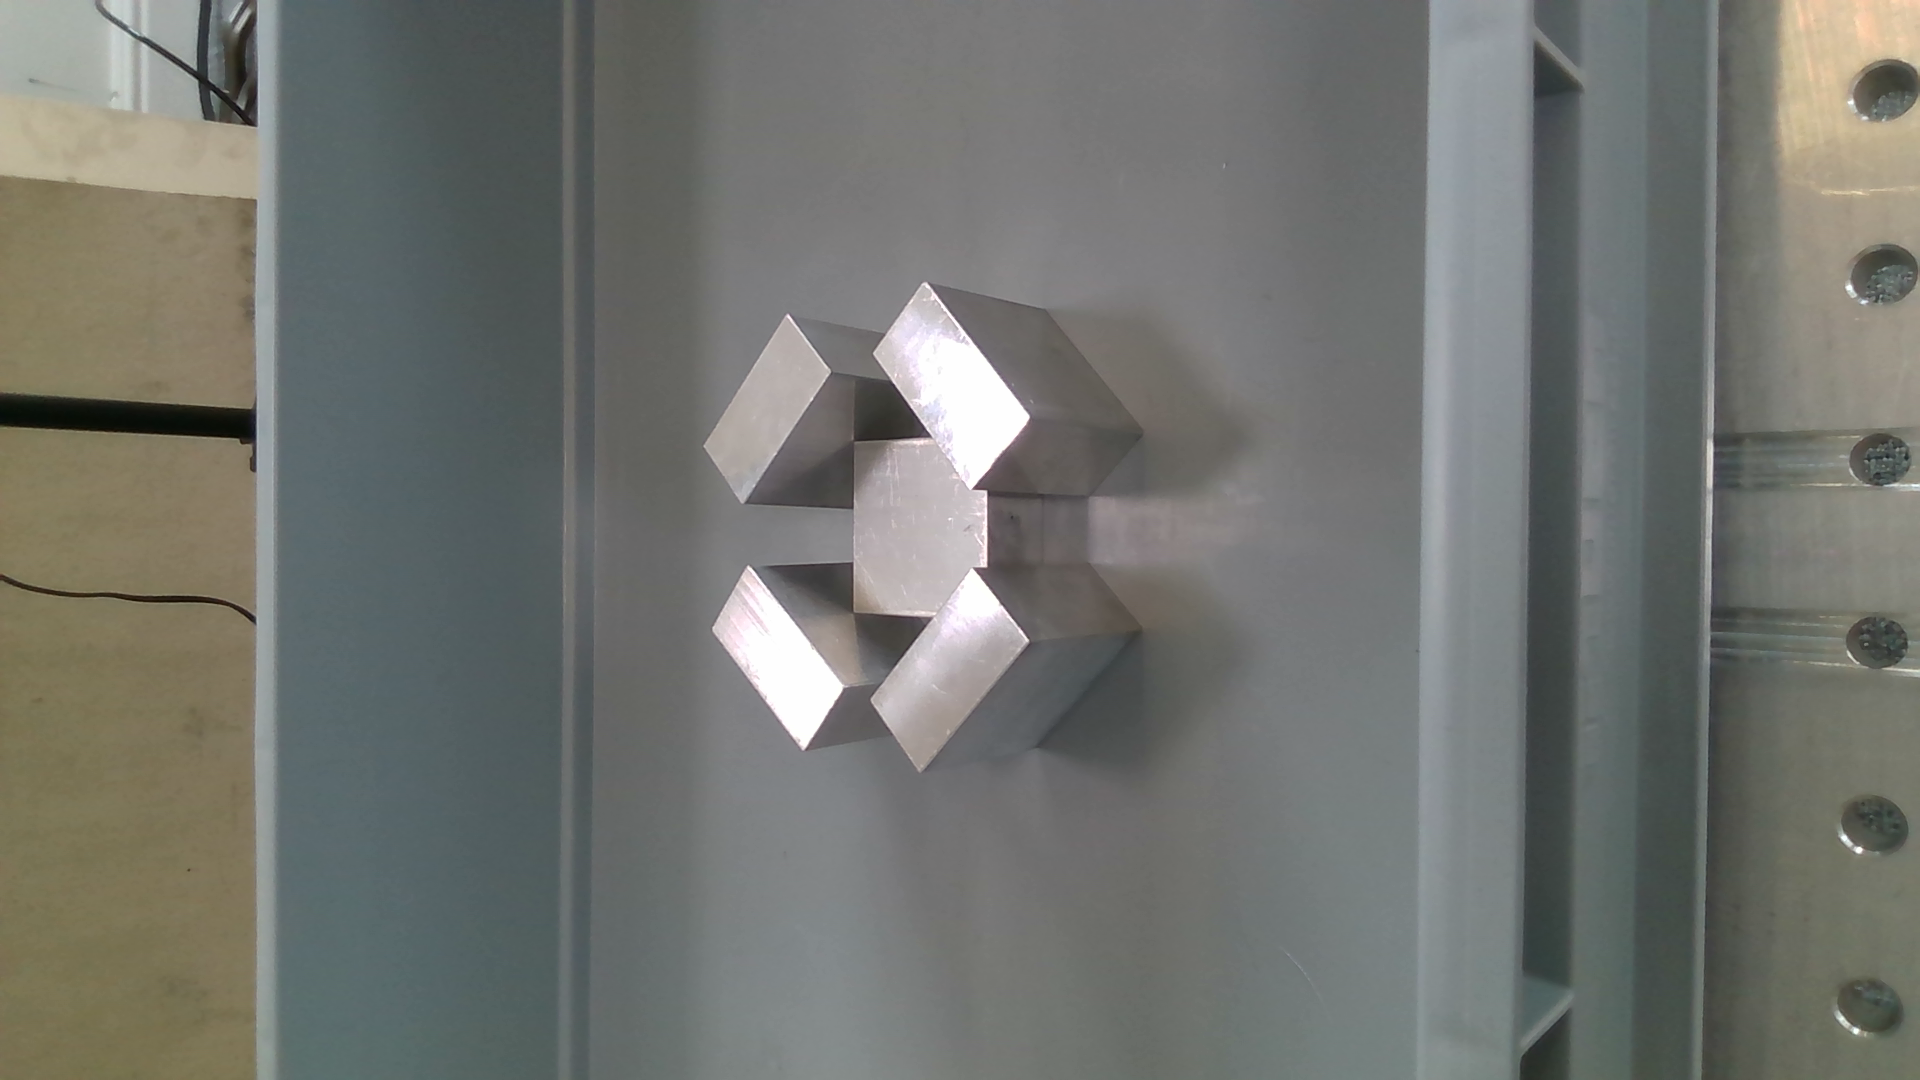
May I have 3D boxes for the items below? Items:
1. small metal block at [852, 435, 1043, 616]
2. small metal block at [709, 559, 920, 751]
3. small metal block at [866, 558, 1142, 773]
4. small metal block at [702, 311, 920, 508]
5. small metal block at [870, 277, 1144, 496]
[{"bbox_3d":[-0.004,-0.004,0.392,0.050,0.025,0.050,1,91,40],"label":"small metal block"},{"bbox_3d":[-0.036,0.032,0.403,0.050,0.050,0.025,47,119,29],"label":"small metal block"},{"bbox_3d":[0.012,0.032,0.362,0.025,0.050,0.050,52,122,26],"label":"small metal block"},{"bbox_3d":[-0.039,-0.037,0.406,0.050,0.050,0.025,-52,59,27],"label":"small metal block"},{"bbox_3d":[0.013,-0.039,0.361,0.025,0.050,0.050,-49,60,28],"label":"small metal block"}]
